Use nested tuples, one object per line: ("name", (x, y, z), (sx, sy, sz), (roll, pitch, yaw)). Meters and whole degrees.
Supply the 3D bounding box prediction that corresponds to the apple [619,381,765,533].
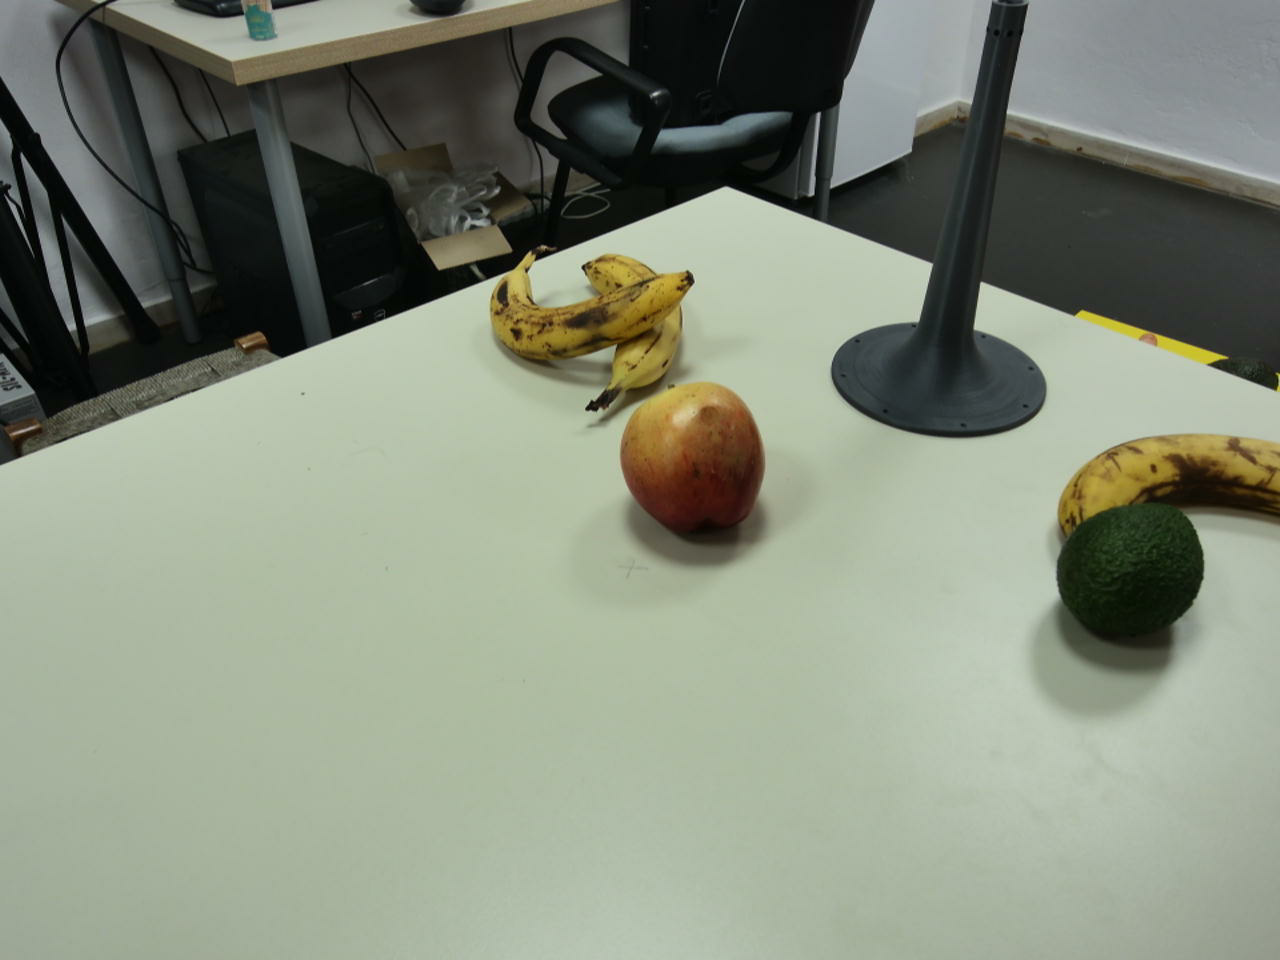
("apple", (0.032, -0.016, 0.592), (0.086, 0.084, 0.093), (8, 37, 10))
